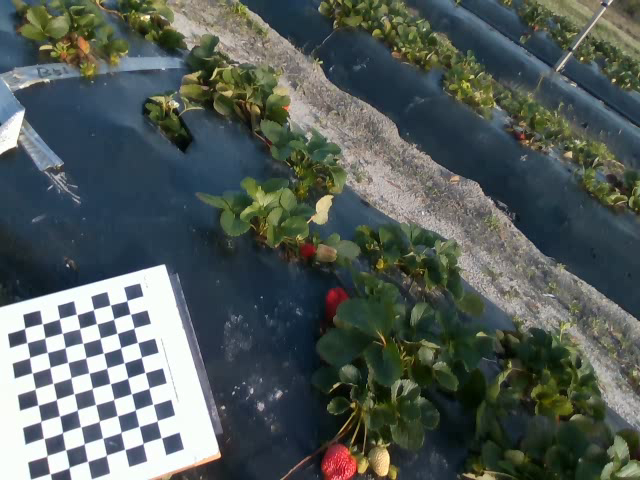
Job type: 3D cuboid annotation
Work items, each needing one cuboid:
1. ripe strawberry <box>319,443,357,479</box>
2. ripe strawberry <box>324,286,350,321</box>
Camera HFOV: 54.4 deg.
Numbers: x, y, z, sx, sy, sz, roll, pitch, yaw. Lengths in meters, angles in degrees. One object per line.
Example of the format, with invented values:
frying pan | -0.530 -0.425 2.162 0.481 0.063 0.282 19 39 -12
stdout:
ripe strawberry | 0.024 0.294 0.804 0.050 0.047 0.035 -34 -23 -29
ripe strawberry | 0.029 0.104 1.035 0.058 0.071 0.057 -7 -5 -11
